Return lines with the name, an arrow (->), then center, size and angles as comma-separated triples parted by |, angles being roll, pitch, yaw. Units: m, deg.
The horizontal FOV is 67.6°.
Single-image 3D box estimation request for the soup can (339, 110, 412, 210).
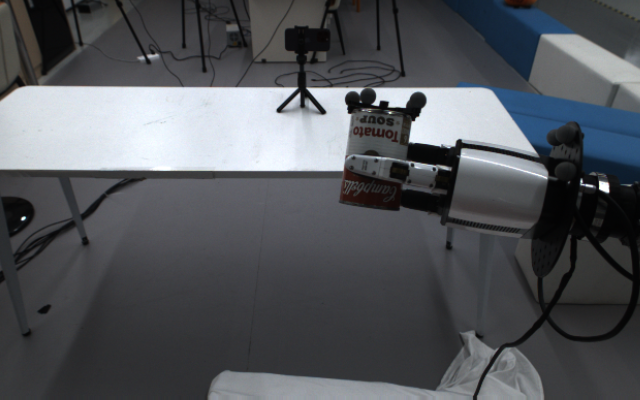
soup can -> 0.062, -0.044, 0.530 | 0.067, 0.101, 0.067 | 7, 4, 0
